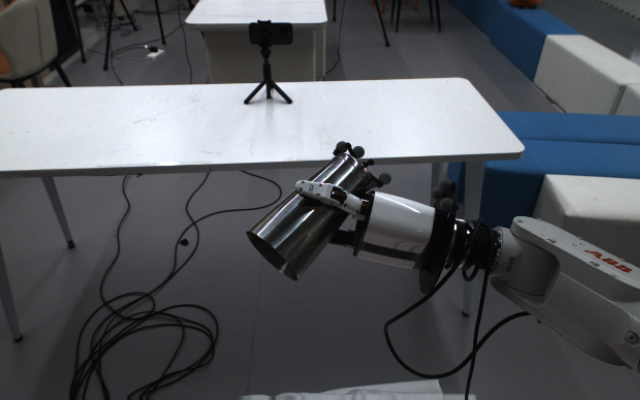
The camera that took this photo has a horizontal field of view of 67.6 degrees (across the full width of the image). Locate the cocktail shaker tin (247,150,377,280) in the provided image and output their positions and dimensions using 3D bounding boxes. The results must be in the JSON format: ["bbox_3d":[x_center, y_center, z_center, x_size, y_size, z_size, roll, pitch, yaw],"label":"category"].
[{"bbox_3d":[-0.007,0.010,0.655,0.093,0.093,0.170,32,66,35],"label":"cocktail shaker tin"}]
